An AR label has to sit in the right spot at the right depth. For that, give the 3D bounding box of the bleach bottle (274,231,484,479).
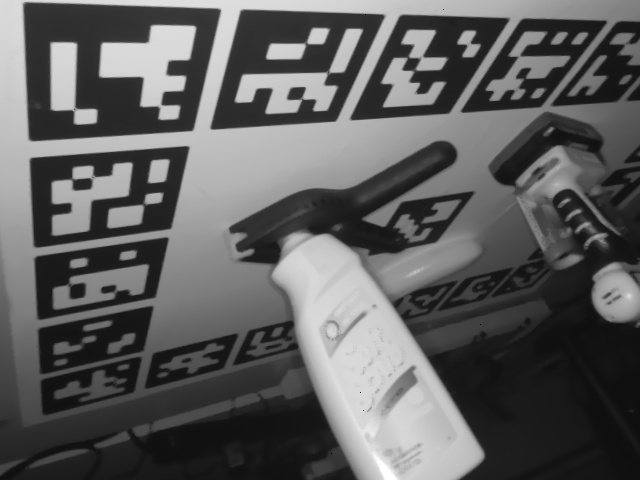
[{"bbox_3d":[0.025,0.086,0.571,0.103,0.250,0.067,-26,155,-12],"label":"bleach bottle"}]

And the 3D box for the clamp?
[{"bbox_3d":[0.023,-0.011,0.626,0.205,0.037,0.163,-13,145,-18],"label":"clamp"}]

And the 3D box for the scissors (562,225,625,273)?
[{"bbox_3d":[0.339,0.013,0.744,0.205,0.016,0.086,13,129,-40],"label":"scissors"}]

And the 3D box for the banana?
[{"bbox_3d":[0.146,0.055,0.834,0.196,0.039,0.074,-31,166,9],"label":"banana"}]

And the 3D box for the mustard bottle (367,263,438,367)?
[{"bbox_3d":[0.074,0.115,0.745,0.098,0.191,0.057,1,142,-35],"label":"mustard bottle"}]

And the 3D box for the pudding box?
[{"bbox_3d":[0.310,-0.040,0.767,0.115,0.090,0.038,-7,152,-27],"label":"pudding box"}]

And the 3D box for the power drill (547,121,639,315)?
[{"bbox_3d":[0.303,-0.020,0.640,0.187,0.187,0.056,-4,151,-37],"label":"power drill"}]
